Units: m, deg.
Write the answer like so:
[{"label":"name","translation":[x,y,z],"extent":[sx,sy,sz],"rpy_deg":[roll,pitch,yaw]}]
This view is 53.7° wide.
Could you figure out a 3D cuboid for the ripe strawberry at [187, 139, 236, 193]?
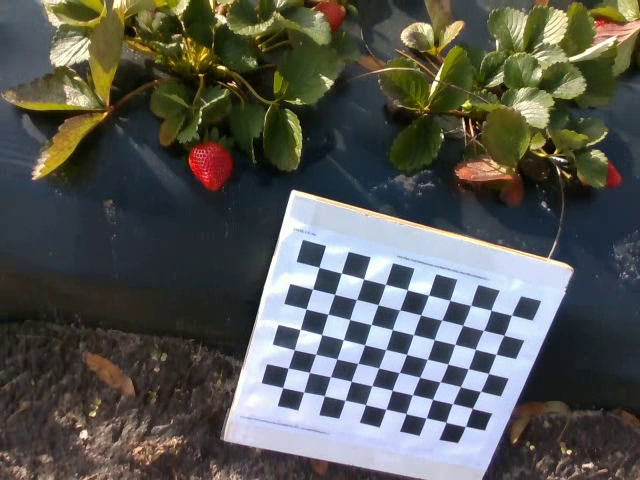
[{"label":"ripe strawberry","translation":[-0.081,-0.053,0.484],"extent":[0.041,0.047,0.041],"rpy_deg":[-11,-38,9]}]
